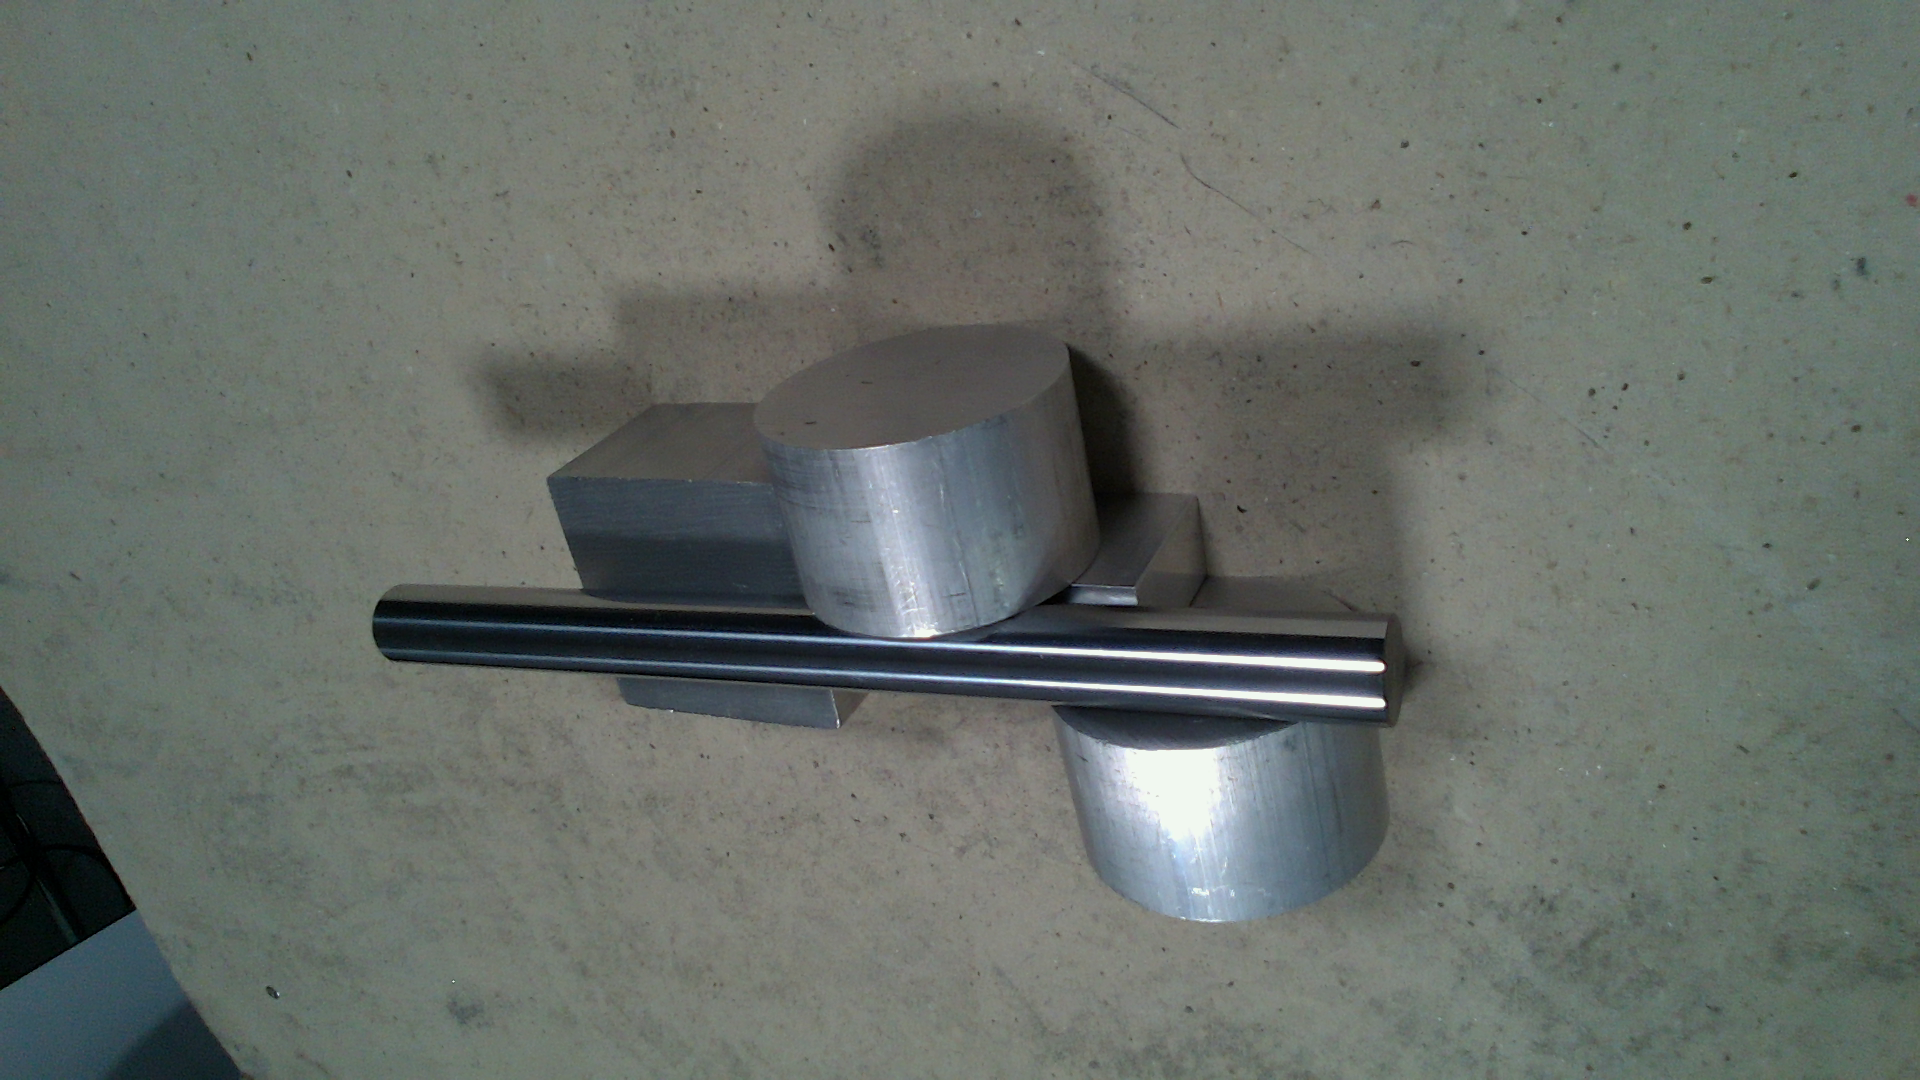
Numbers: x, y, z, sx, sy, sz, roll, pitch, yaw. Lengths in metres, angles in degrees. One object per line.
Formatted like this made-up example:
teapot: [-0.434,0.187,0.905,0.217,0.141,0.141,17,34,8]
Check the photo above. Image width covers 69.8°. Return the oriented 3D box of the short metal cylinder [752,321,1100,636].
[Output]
short metal cylinder: [-0.008,-0.018,0.351,0.080,0.080,0.050,2,120,27]

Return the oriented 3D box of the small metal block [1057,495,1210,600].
small metal block: [0.033,0.011,0.364,0.050,0.050,0.025,1,119,28]

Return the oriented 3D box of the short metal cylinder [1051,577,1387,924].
short metal cylinder: [0.066,0.051,0.353,0.080,0.080,0.050,0,118,28]

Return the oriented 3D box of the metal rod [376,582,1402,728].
metal rod: [-0.040,0.027,0.365,0.299,0.025,0.025,1,119,27]

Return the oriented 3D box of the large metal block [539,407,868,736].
large metal block: [-0.068,0.007,0.414,0.080,0.050,0.080,3,120,27]
